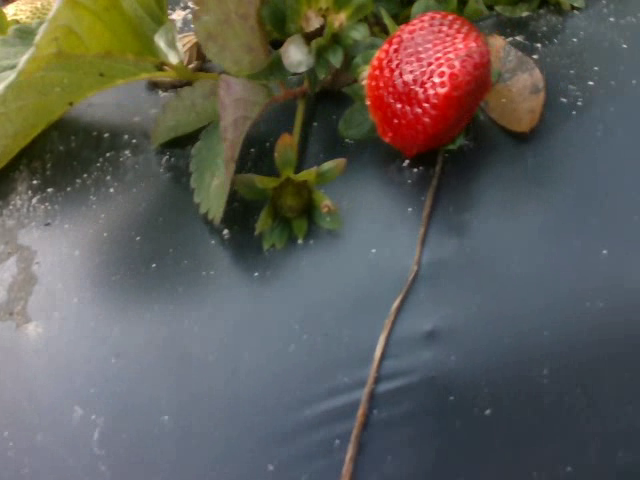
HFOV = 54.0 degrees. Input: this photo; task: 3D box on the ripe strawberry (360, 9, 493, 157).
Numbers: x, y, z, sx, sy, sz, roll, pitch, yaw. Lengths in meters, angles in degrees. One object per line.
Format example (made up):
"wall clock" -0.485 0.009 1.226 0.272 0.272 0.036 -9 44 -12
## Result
"ripe strawberry" 0.037 -0.050 0.203 0.050 0.049 0.053 -17 15 -2
